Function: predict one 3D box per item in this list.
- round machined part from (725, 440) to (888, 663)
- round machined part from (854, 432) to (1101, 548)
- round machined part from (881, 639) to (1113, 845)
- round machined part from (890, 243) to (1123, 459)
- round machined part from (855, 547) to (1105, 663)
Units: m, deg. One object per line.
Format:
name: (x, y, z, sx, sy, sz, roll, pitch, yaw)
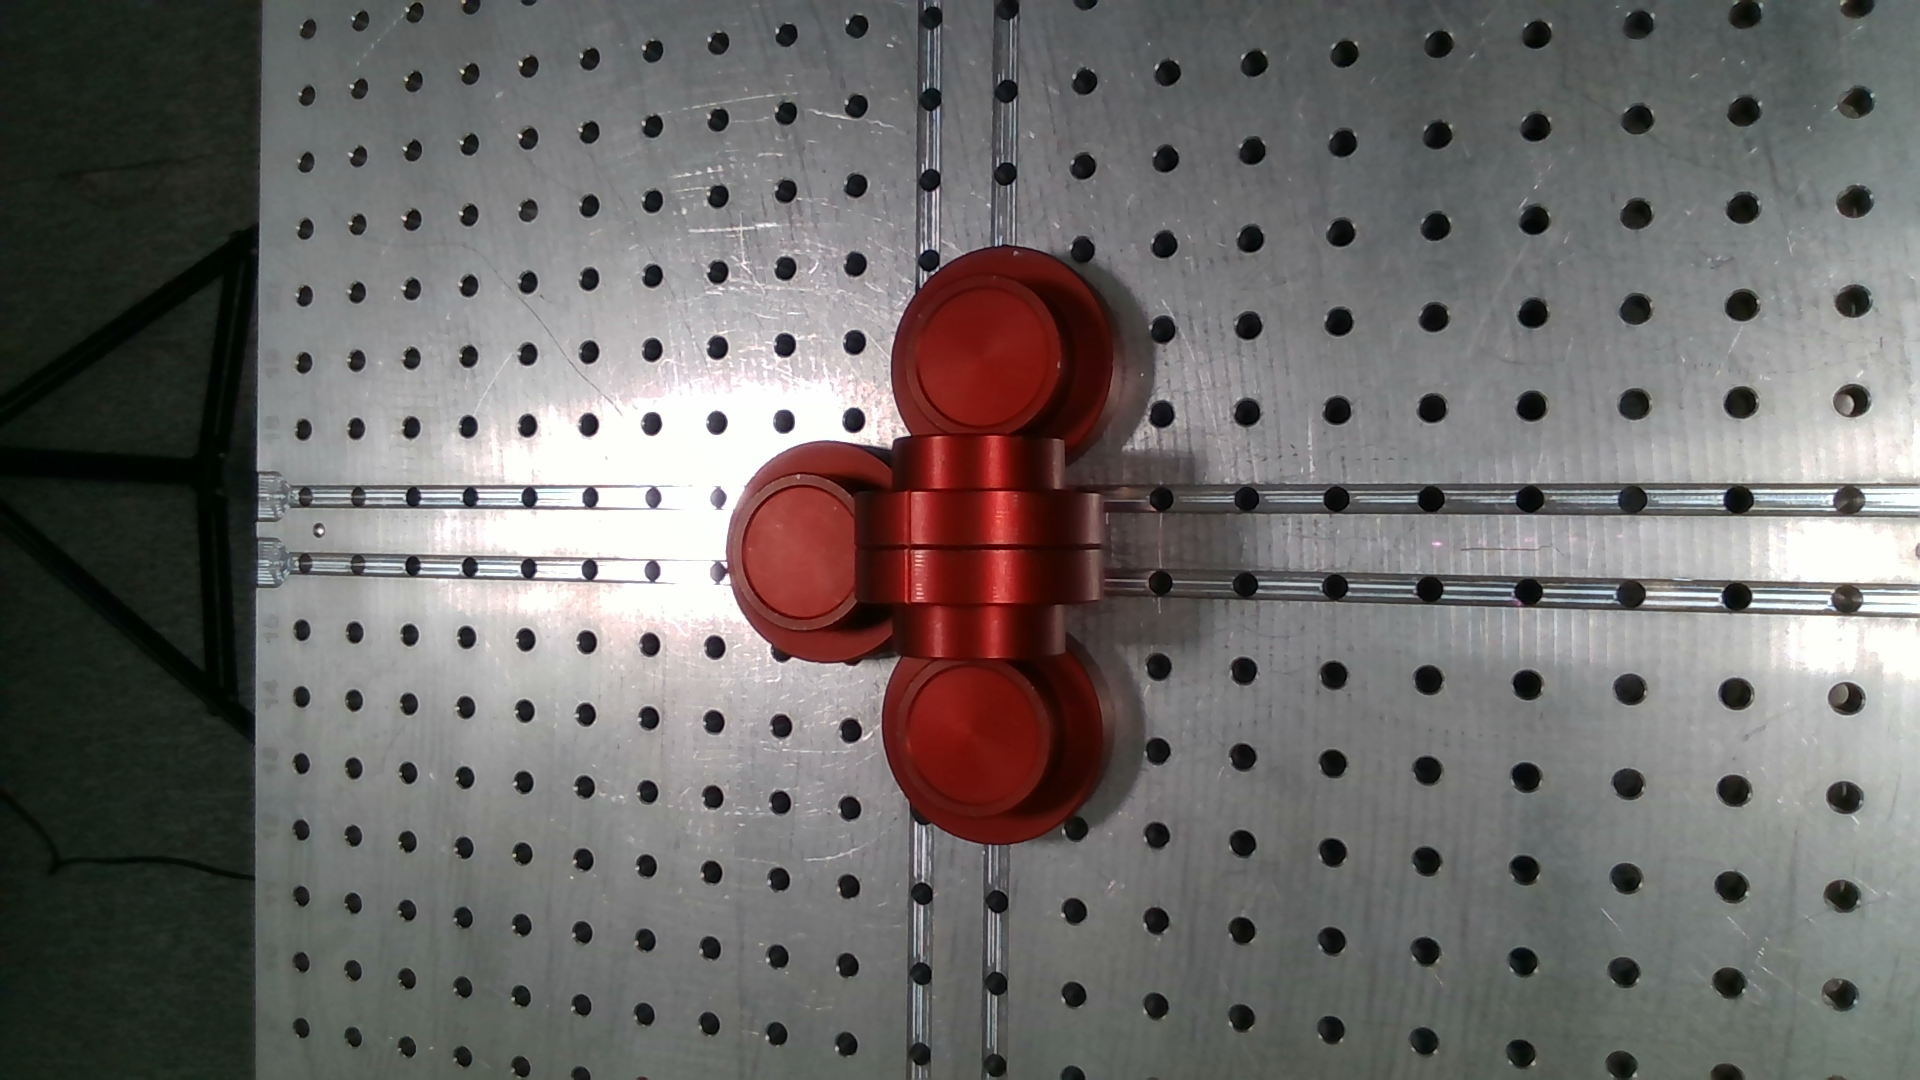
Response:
round machined part: (-0.060, 0.005, 0.601, 0.098, 0.042, 0.098, 0, 91, 20)
round machined part: (0.007, -0.019, 0.540, 0.098, 0.098, 0.042, 1, 91, 20)
round machined part: (0.011, 0.079, 0.575, 0.098, 0.042, 0.098, 0, 91, 20)
round machined part: (0.016, -0.074, 0.572, 0.098, 0.042, 0.098, 0, 91, 20)
round machined part: (0.008, 0.024, 0.540, 0.098, 0.098, 0.042, -1, 90, 20)
